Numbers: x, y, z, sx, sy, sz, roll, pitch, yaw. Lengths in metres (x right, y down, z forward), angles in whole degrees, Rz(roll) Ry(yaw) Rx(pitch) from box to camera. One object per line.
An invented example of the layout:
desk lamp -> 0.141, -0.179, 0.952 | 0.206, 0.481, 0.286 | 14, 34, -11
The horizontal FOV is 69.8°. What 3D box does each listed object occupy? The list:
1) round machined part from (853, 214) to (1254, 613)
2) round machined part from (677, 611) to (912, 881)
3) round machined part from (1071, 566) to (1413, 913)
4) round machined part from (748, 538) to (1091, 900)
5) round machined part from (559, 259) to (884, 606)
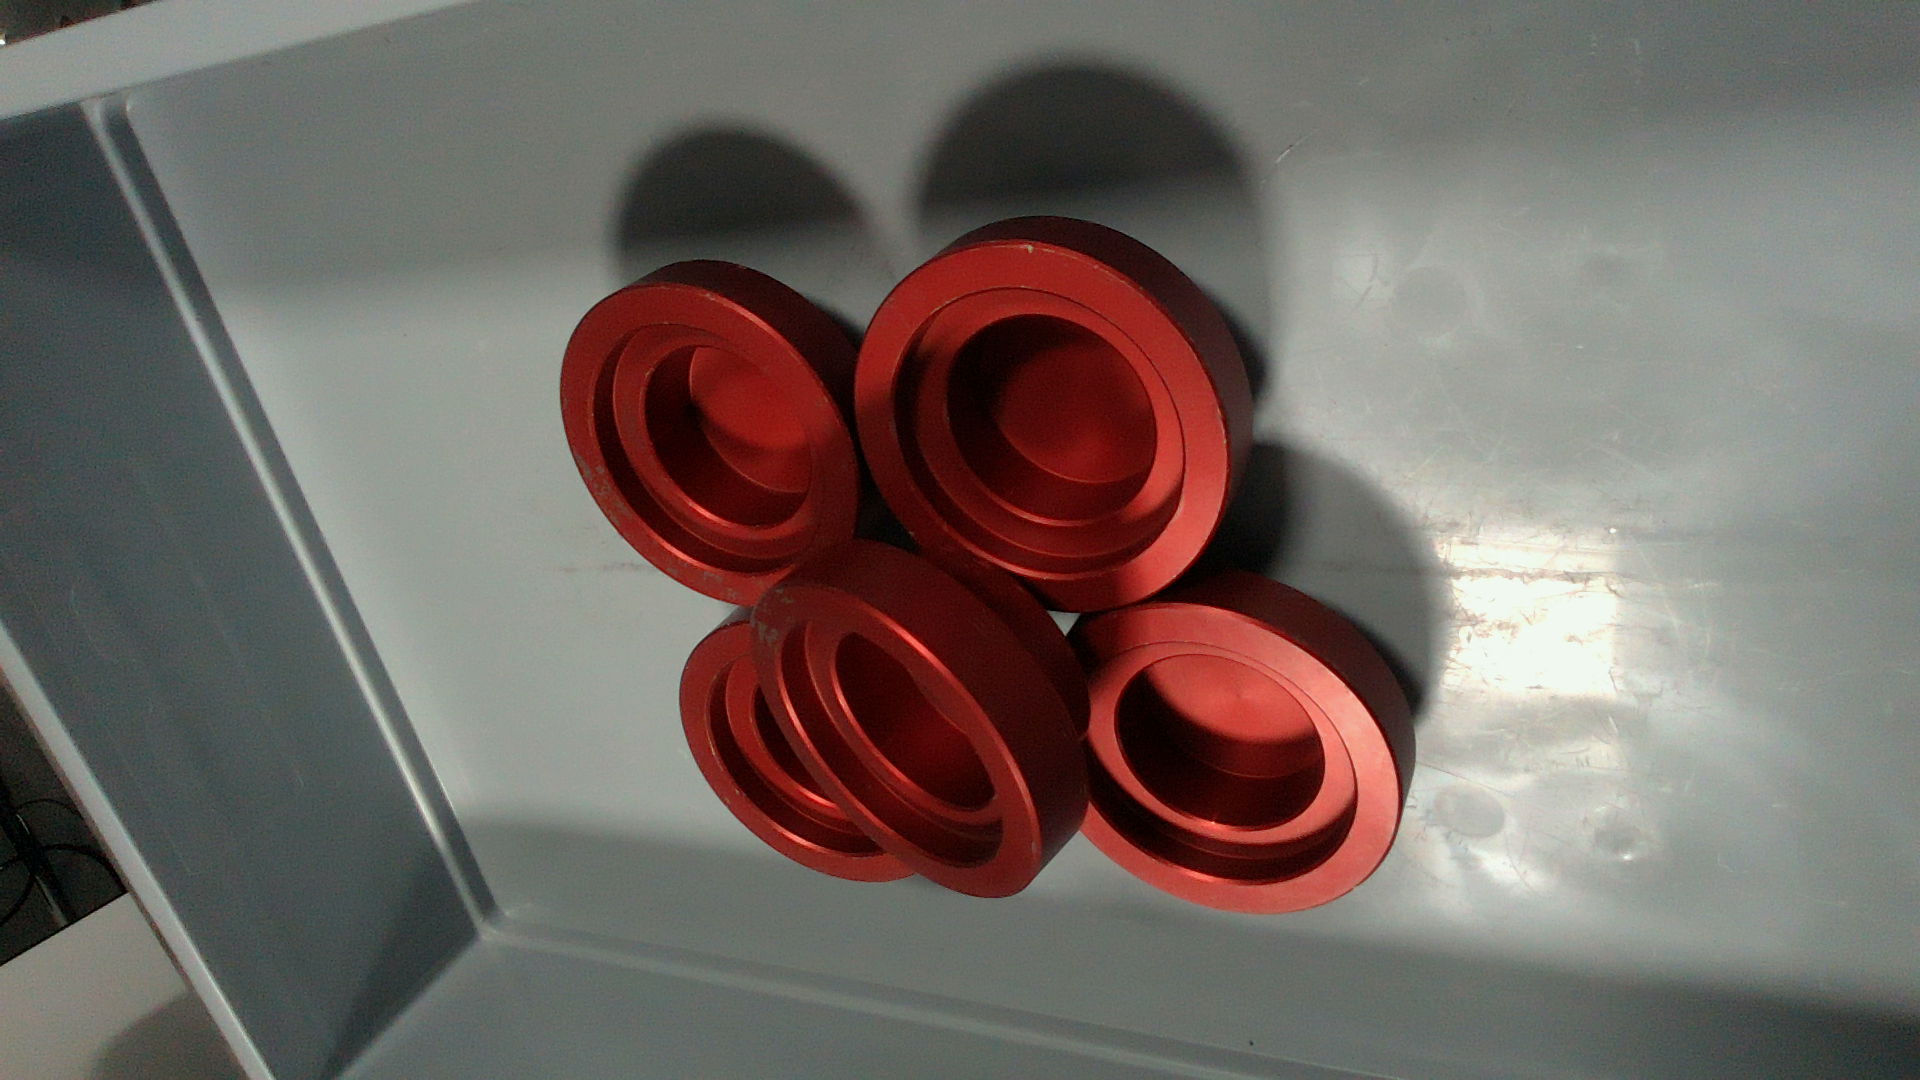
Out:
round machined part -> 0.026, -0.034, 0.345 | 0.098, 0.042, 0.098 | 13, 124, 21
round machined part -> -0.037, 0.056, 0.435 | 0.098, 0.042, 0.098 | 13, 124, 21
round machined part -> 0.072, 0.049, 0.372 | 0.098, 0.042, 0.098 | 13, 124, 21
round machined part -> -0.006, 0.041, 0.353 | 0.098, 0.042, 0.098 | 31, 142, 28
round machined part -> -0.061, -0.033, 0.393 | 0.098, 0.042, 0.098 | 13, 124, 21
